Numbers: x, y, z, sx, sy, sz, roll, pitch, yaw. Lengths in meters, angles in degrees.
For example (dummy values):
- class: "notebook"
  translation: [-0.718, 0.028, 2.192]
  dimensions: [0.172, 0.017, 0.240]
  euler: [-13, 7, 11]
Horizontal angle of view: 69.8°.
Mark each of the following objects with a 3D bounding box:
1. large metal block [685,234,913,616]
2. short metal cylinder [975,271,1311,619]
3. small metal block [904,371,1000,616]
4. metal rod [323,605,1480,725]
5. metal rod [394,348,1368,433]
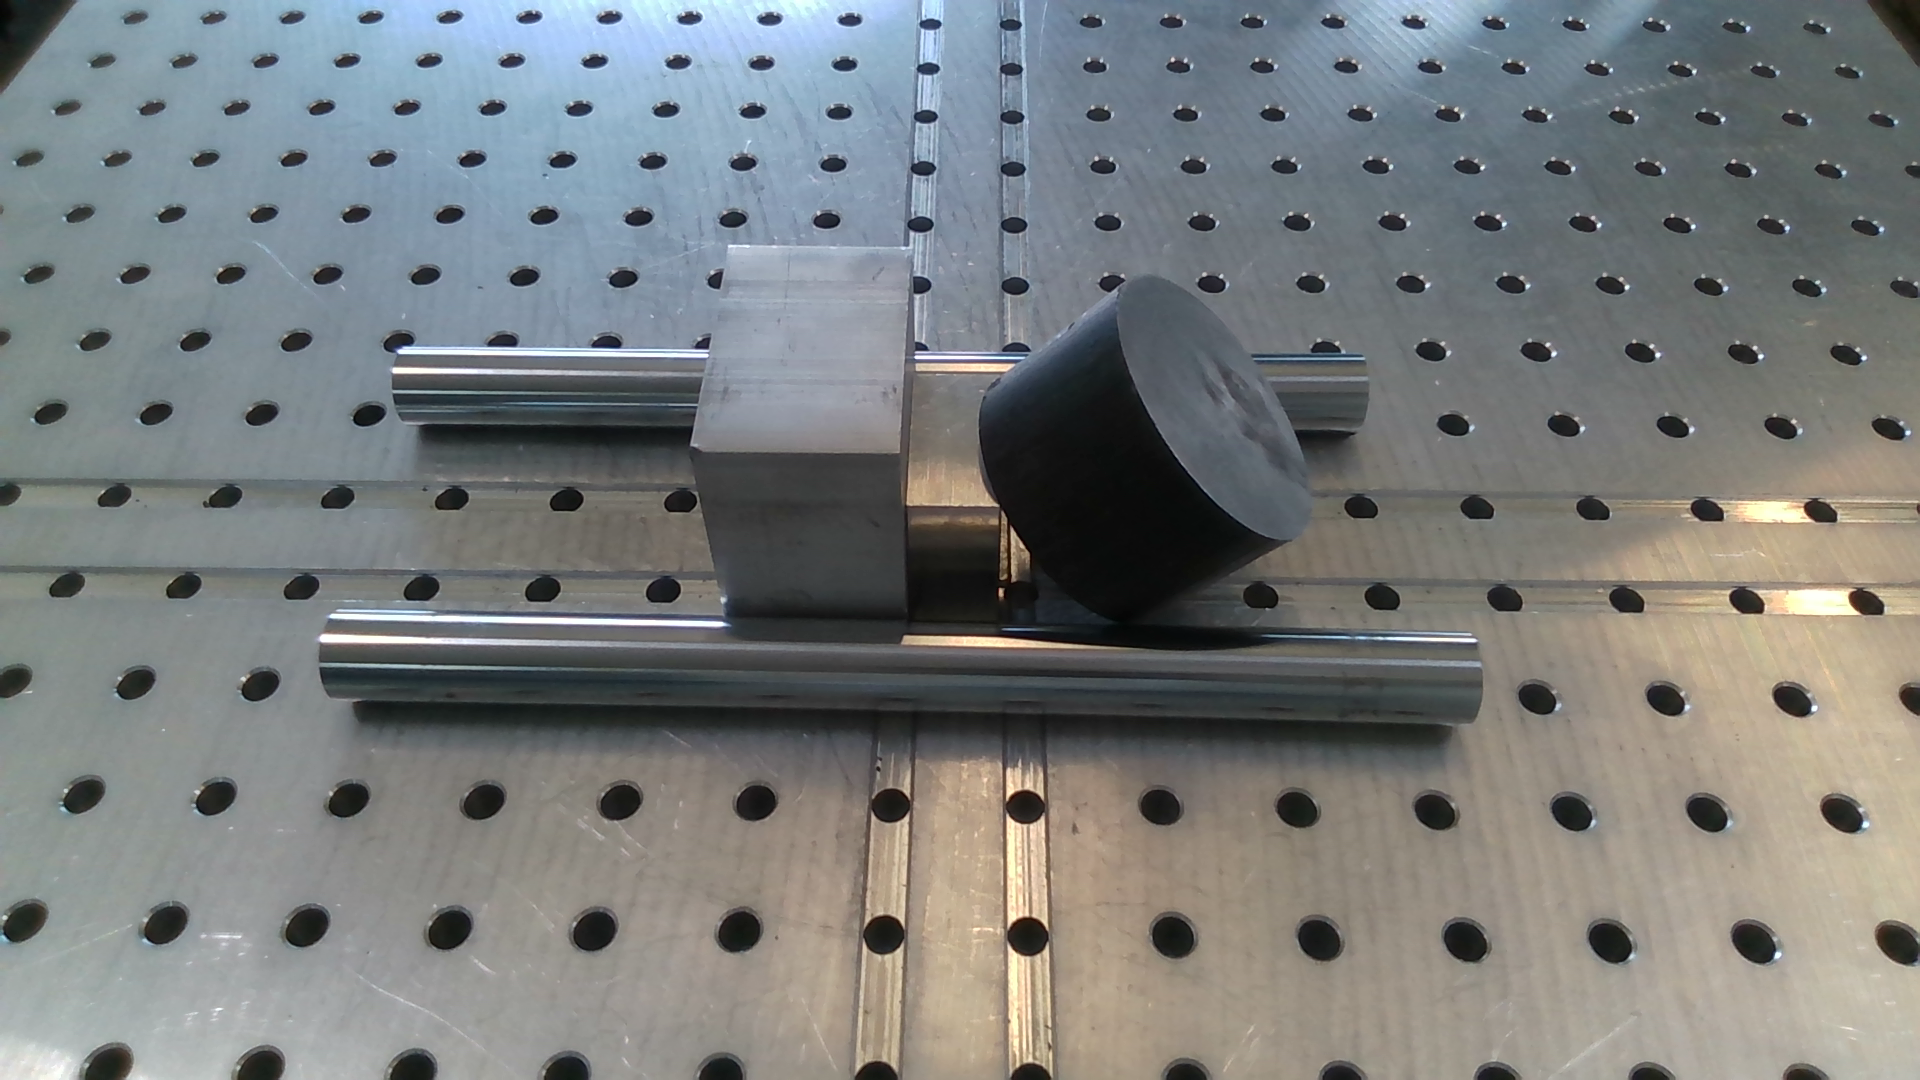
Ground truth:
- class: "large metal block"
  translation: [-0.039, -0.027, 0.381]
  dimensions: [0.050, 0.080, 0.080]
  euler: [0, 50, 0]
- class: "short metal cylinder"
  translation: [0.050, -0.025, 0.373]
  dimensions: [0.080, 0.050, 0.080]
  euler: [31, 42, -33]
- class: "small metal block"
  translation: [-0.001, -0.012, 0.391]
  dimensions: [0.025, 0.050, 0.050]
  euler: [1, 51, 1]
- class: "metal rod"
  translation: [-0.016, 0.033, 0.369]
  dimensions: [0.300, 0.025, 0.025]
  euler: [1, 50, 1]
- class: "metal rod"
  translation: [-0.025, -0.048, 0.436]
  dimensions: [0.300, 0.025, 0.025]
  euler: [0, 50, 0]
